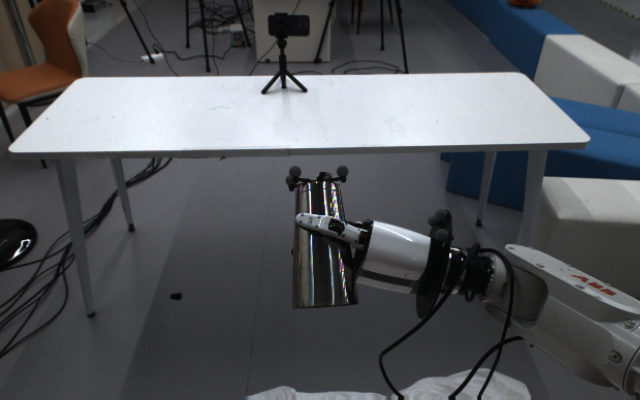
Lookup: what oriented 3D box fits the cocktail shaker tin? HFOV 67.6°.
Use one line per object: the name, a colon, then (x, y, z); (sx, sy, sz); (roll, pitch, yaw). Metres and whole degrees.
cocktail shaker tin: (0.003, 0.065, 0.686); (0.093, 0.093, 0.170); (-3, 76, -8)
